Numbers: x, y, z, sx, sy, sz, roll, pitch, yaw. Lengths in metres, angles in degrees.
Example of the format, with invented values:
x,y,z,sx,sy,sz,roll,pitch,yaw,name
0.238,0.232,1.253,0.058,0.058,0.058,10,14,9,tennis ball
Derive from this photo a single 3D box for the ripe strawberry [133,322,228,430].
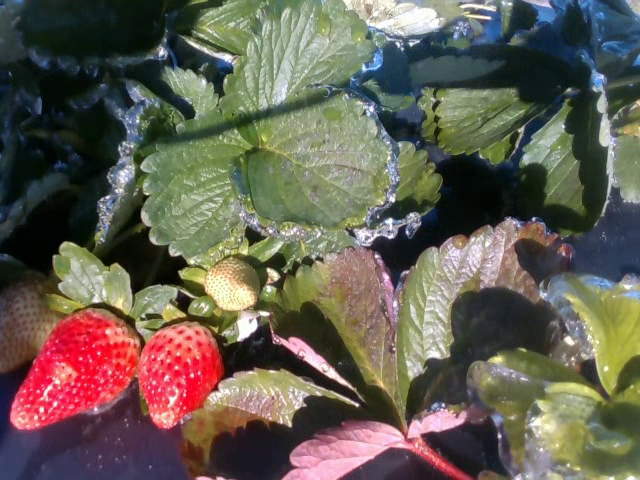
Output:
x,y,z,sx,sy,sz,roll,pitch,yaw,name
-0.050,0.049,0.211,0.036,0.041,0.030,-28,-42,21,ripe strawberry

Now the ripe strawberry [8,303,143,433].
x,y,z,sx,sy,sz,roll,pitch,yaw,name
-0.090,0.051,0.215,0.036,0.040,0.052,-5,27,33,ripe strawberry
